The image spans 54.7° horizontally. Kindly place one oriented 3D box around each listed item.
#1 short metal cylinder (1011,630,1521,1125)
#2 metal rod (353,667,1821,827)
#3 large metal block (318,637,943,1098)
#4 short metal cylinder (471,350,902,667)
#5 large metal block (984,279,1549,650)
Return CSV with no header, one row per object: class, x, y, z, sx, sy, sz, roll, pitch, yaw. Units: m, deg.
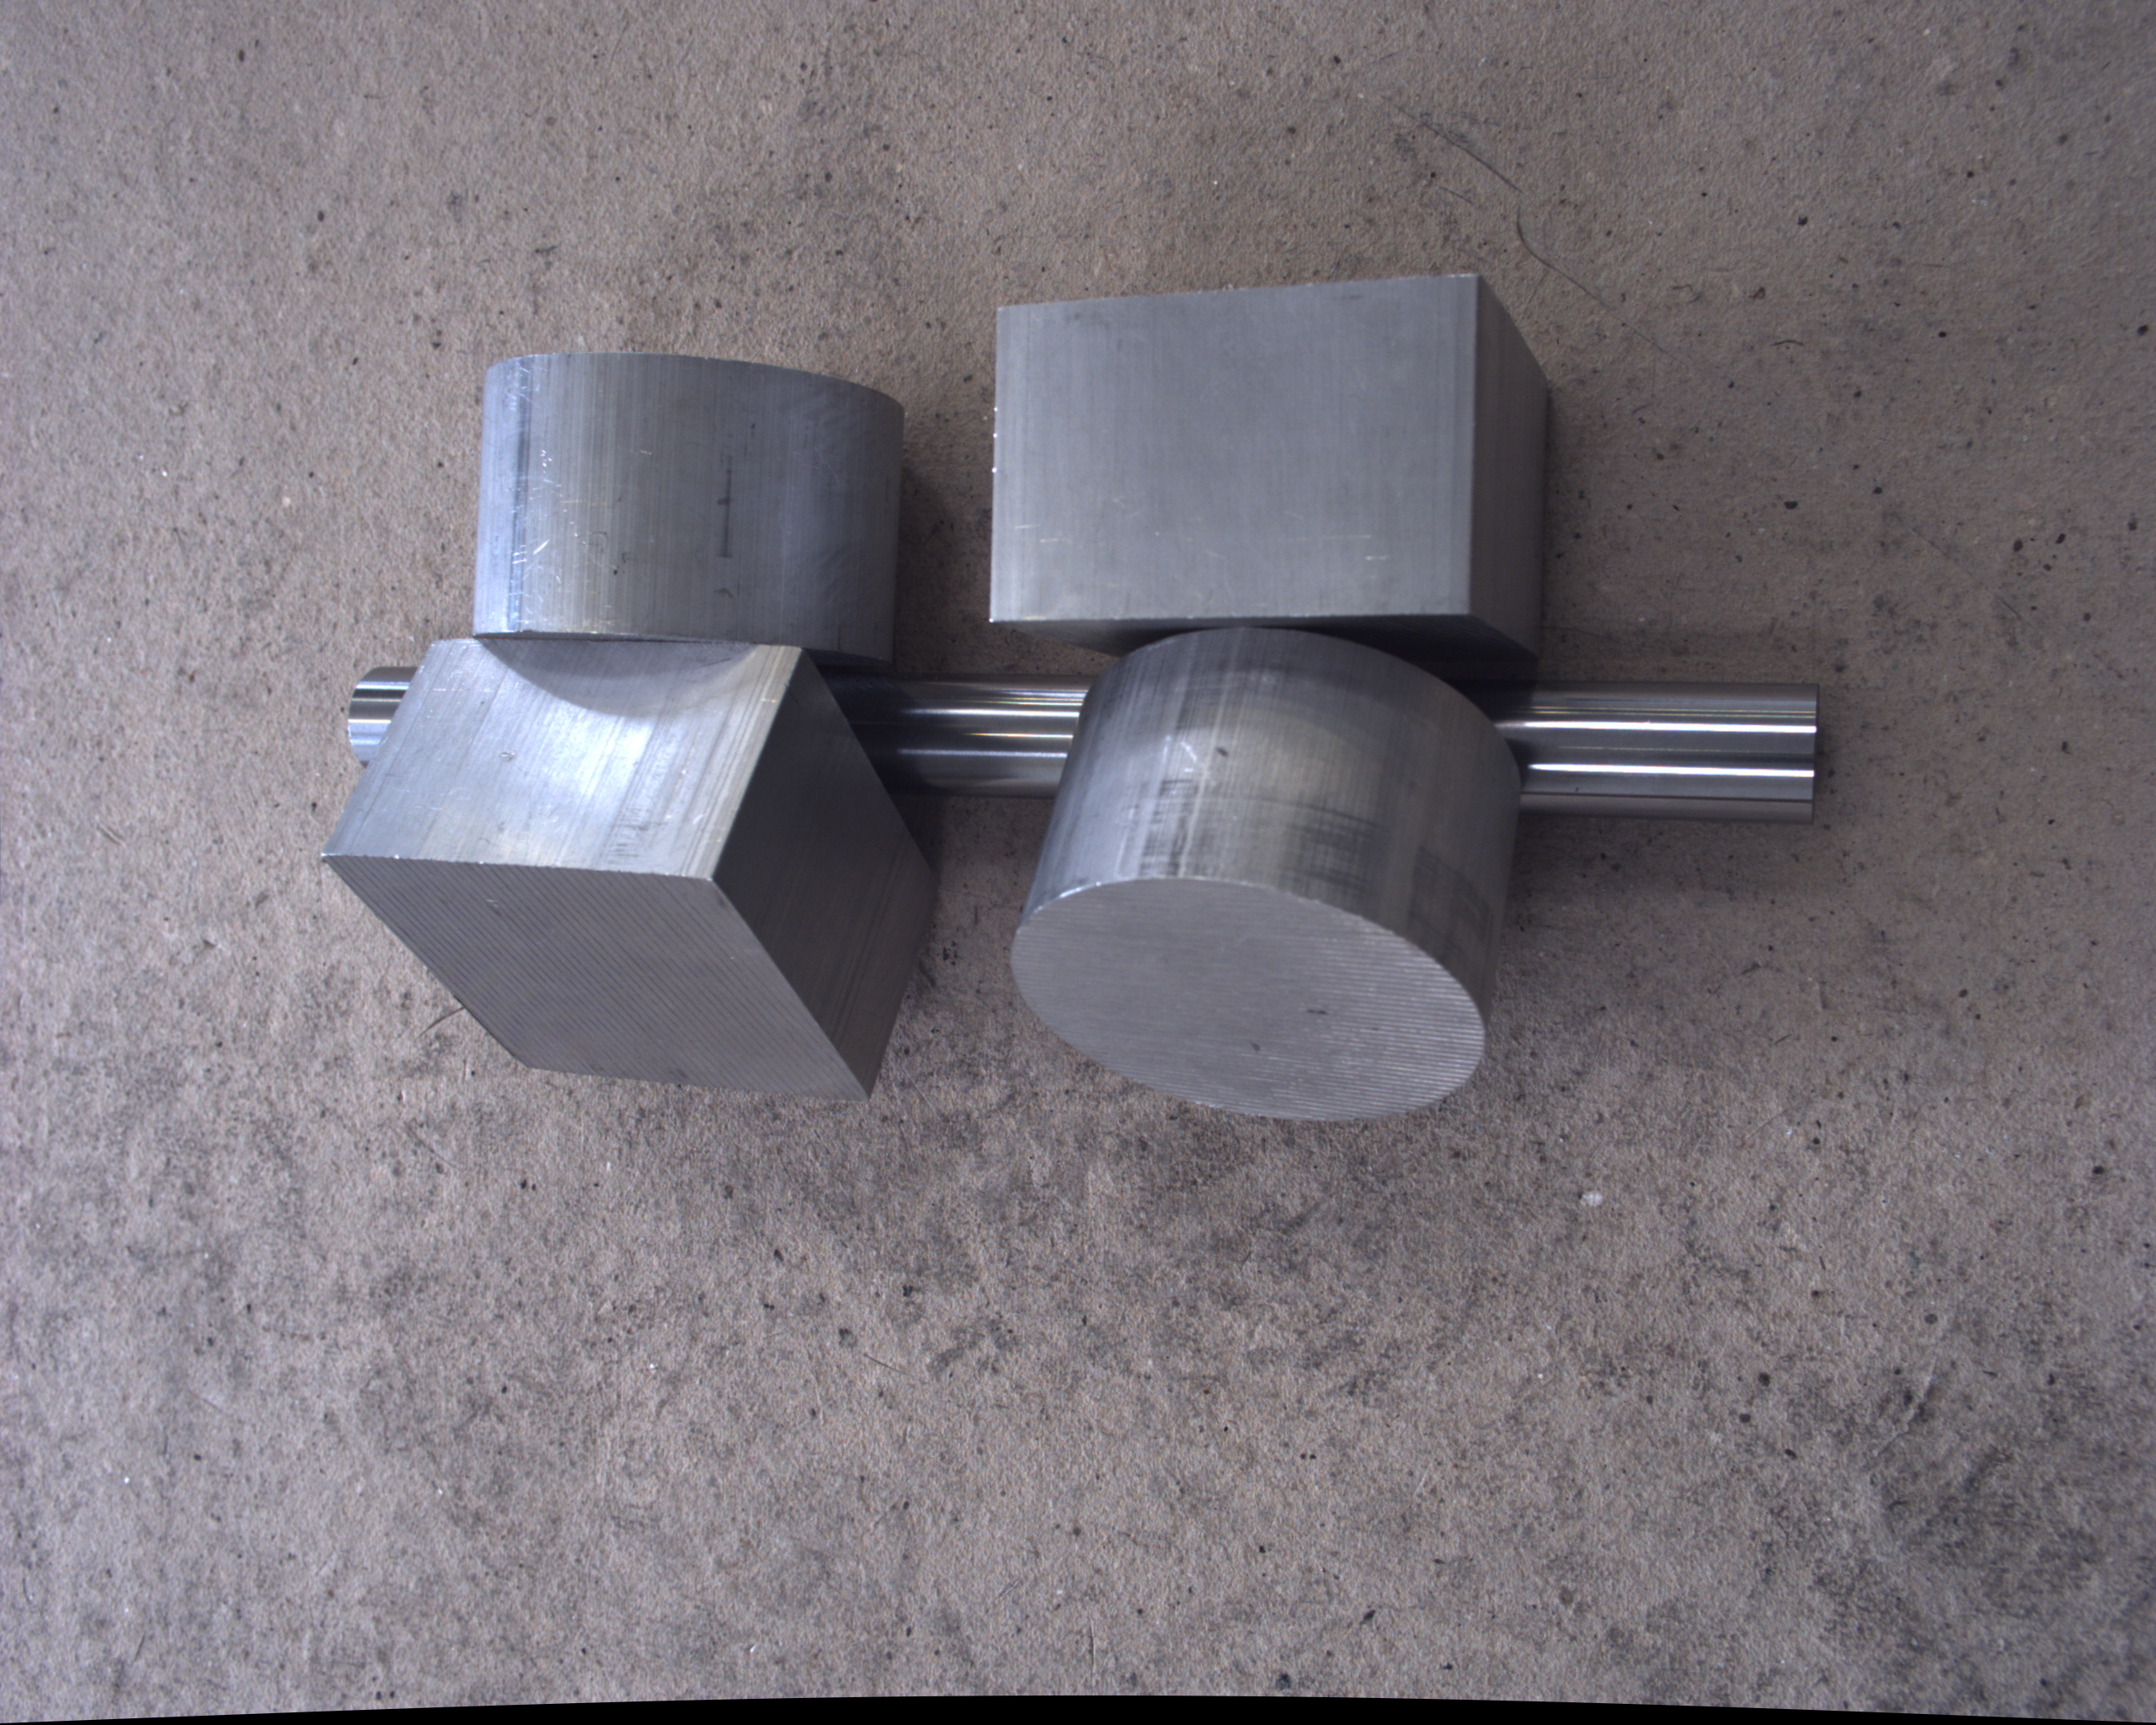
short metal cylinder,0.033,0.005,0.363,0.080,0.080,0.050,2,56,20
metal rod,-0.012,-0.025,0.416,0.301,0.025,0.025,3,91,19
large metal block,-0.082,0.002,0.403,0.080,0.080,0.050,3,57,19
short metal cylinder,-0.076,-0.066,0.407,0.080,0.080,0.050,4,92,20
large metal block,0.037,-0.065,0.367,0.080,0.080,0.050,2,91,20
